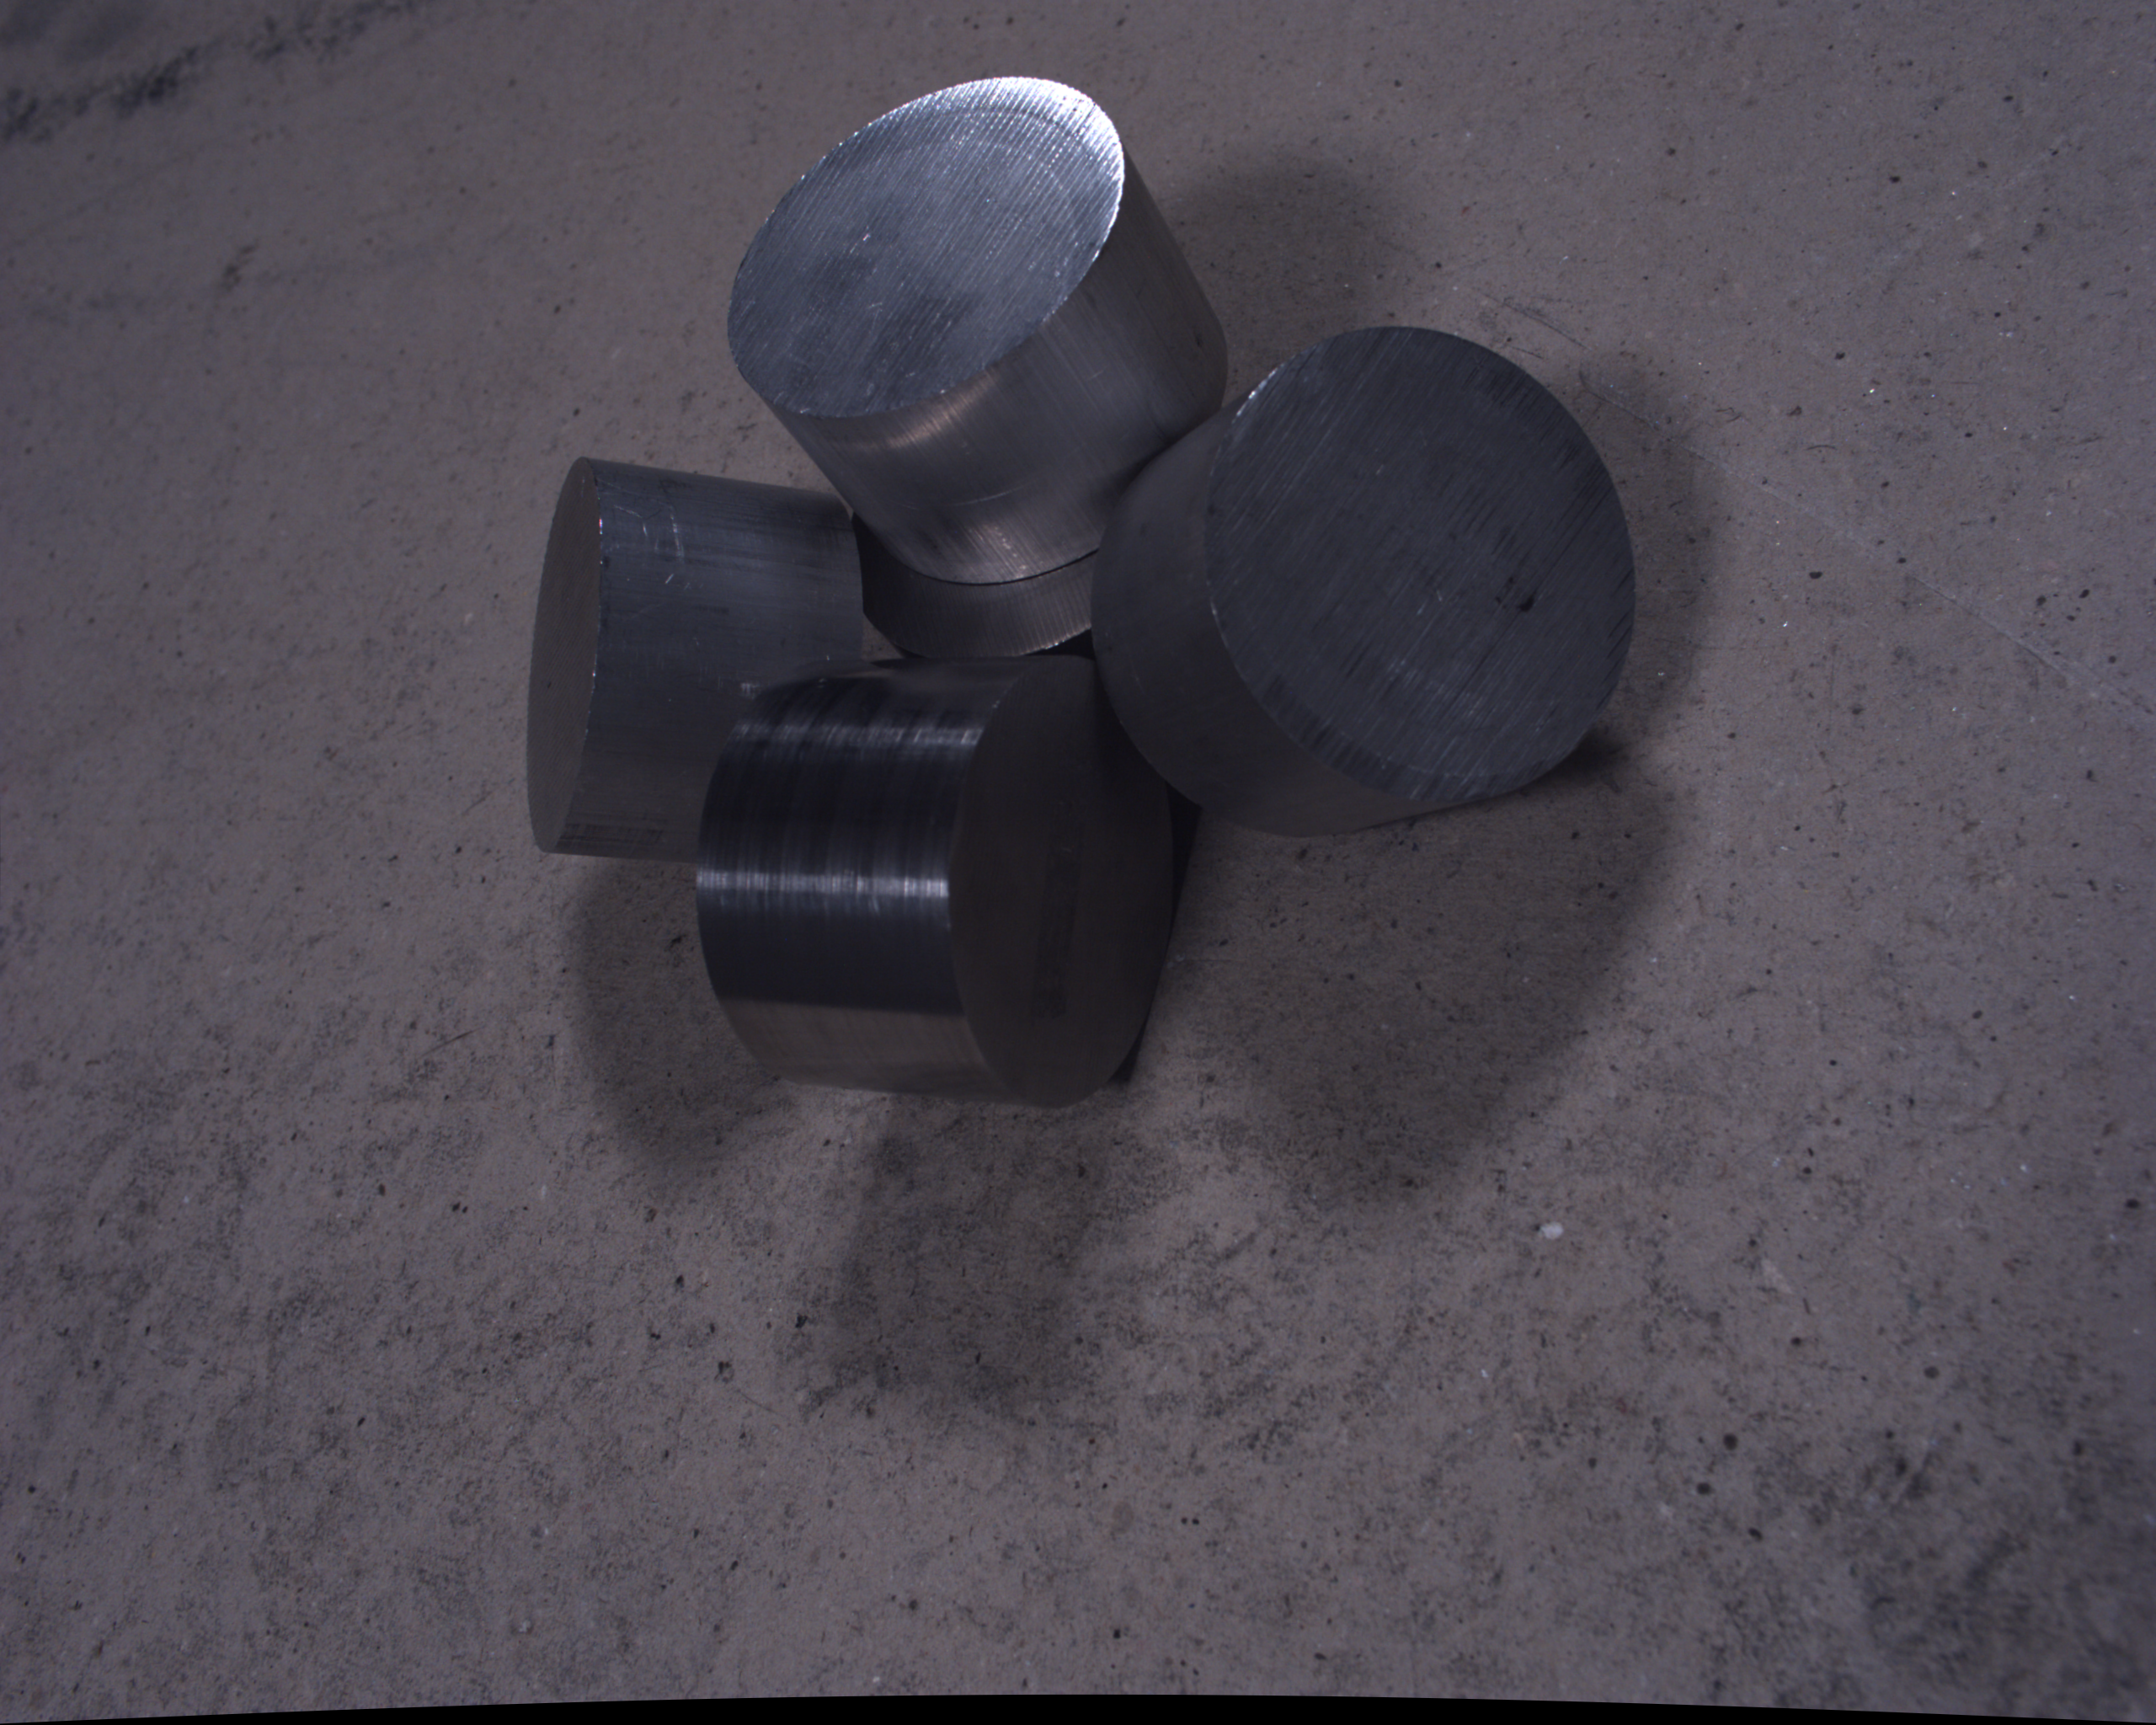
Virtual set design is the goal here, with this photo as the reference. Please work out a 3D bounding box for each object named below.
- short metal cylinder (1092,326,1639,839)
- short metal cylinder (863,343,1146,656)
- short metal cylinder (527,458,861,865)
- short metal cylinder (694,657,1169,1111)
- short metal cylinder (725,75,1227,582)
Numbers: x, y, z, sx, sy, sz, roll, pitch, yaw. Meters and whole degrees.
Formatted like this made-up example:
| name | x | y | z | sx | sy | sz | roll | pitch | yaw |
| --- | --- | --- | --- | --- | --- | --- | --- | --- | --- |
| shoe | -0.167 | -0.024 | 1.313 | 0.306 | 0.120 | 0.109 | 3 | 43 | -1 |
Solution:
| name | x | y | z | sx | sy | sz | roll | pitch | yaw |
| --- | --- | --- | --- | --- | --- | --- | --- | --- | --- |
| short metal cylinder | 0.049 | -0.046 | 0.364 | 0.080 | 0.080 | 0.050 | -62 | 16 | -16 |
| short metal cylinder | 0.001 | -0.060 | 0.425 | 0.080 | 0.050 | 0.080 | -13 | 56 | 20 |
| short metal cylinder | -0.081 | -0.039 | 0.428 | 0.080 | 0.050 | 0.079 | -174 | 90 | -67 |
| short metal cylinder | -0.024 | 0.003 | 0.378 | 0.050 | 0.080 | 0.080 | 2 | 63 | 29 |
| short metal cylinder | -0.018 | -0.100 | 0.394 | 0.080 | 0.050 | 0.080 | -13 | 56 | 20 |
